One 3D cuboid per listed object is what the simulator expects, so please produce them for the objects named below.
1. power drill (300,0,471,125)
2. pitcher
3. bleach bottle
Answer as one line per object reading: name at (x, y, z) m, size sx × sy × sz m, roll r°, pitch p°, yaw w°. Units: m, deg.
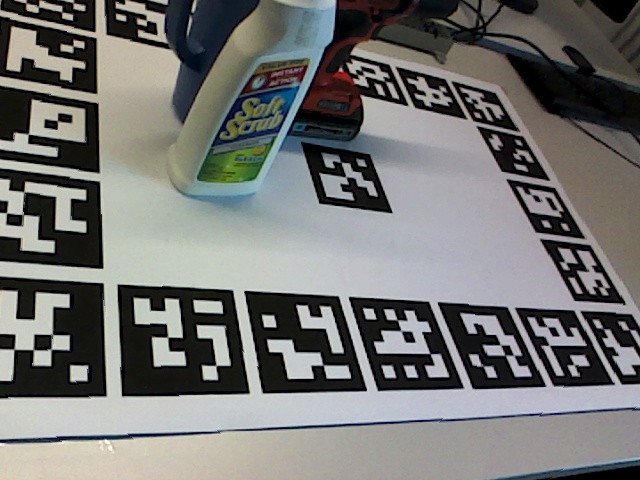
power drill at (0.064, -0.221, 0.729) m, size 0.183 × 0.187 × 0.057 m, roll 4°, pitch 54°, yaw -36°
pitcher at (-0.075, -0.226, 0.635) m, size 0.188 × 0.243 × 0.134 m, roll -23°, pitch 69°, yaw -42°
bleach bottle at (-0.054, -0.157, 0.559) m, size 0.102 × 0.251 × 0.068 m, roll -2°, pitch 55°, yaw -32°
